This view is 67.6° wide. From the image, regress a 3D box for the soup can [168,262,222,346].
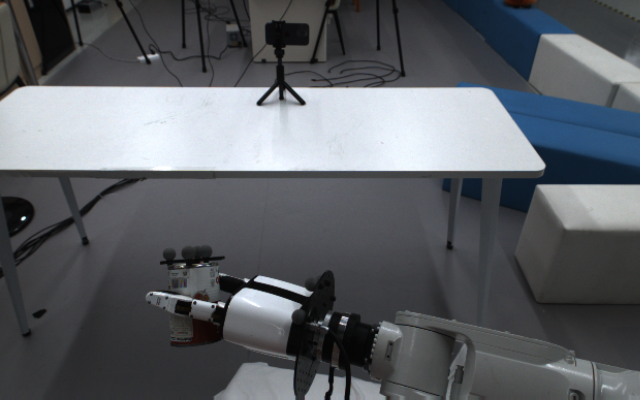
[{"bbox_3d":[-0.163,0.137,0.638,0.067,0.101,0.067,-5,-5,0],"label":"soup can"}]
